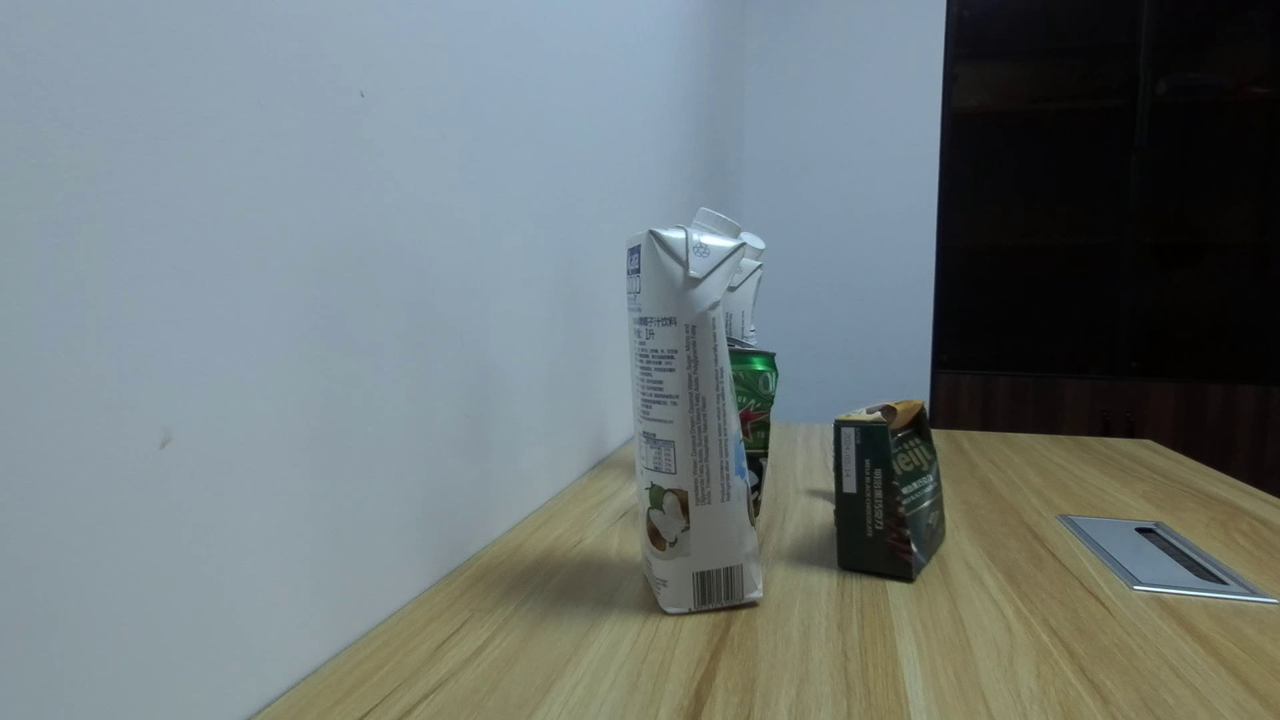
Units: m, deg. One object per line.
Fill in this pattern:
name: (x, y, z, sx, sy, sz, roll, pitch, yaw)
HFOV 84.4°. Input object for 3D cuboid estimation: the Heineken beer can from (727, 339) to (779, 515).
Heineken beer can: (0.070, 0.061, 0.589, 0.078, 0.159, 0.067, 9, 8, 15)

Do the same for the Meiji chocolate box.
Meiji chocolate box: (0.184, 0.092, 0.531, 0.058, 0.110, 0.113, -2, 2, 25)

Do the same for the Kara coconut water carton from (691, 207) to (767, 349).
Kara coconut water carton: (0.083, -0.007, 0.721, 0.078, 0.255, 0.083, 5, 1, 3)

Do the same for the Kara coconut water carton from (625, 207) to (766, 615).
Kara coconut water carton: (0.034, 0.029, 0.450, 0.071, 0.244, 0.099, -3, 9, -9)
